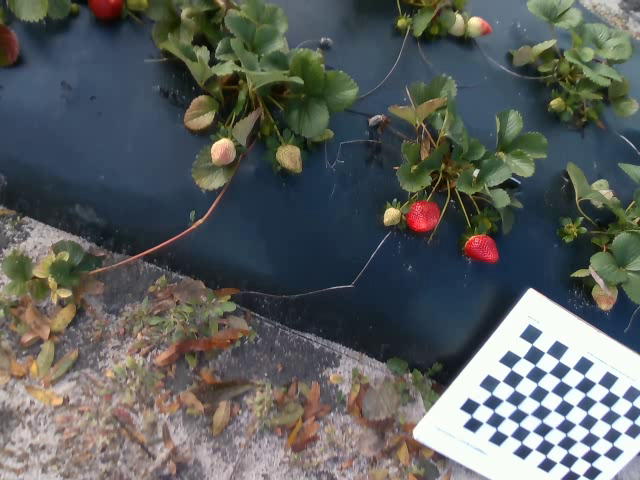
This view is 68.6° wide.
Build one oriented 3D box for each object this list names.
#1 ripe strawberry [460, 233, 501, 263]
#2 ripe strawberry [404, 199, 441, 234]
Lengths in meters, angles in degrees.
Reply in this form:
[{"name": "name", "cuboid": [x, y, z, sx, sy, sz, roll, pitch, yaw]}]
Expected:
[{"name": "ripe strawberry", "cuboid": [0.158, 0.012, 0.451, 0.033, 0.037, 0.039, 32, 29, -27]}, {"name": "ripe strawberry", "cuboid": [0.096, -0.020, 0.442, 0.035, 0.041, 0.036, 17, 43, 3]}]
